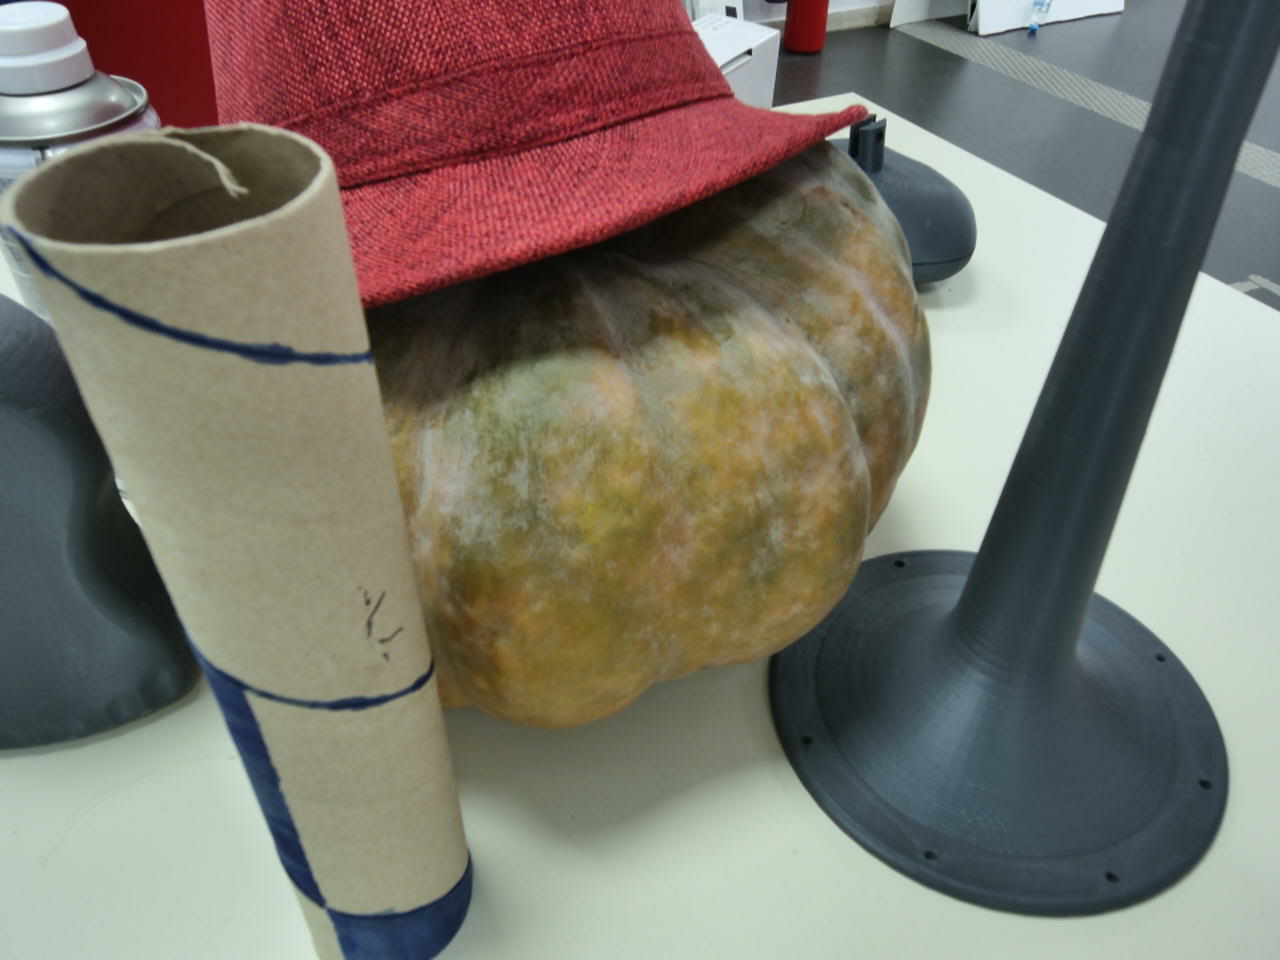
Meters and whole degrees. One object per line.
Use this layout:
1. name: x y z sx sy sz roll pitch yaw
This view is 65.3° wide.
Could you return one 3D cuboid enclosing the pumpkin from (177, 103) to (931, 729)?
1. pumpkin: -0.030 -0.031 0.348 0.252 0.169 0.251 0 38 0
